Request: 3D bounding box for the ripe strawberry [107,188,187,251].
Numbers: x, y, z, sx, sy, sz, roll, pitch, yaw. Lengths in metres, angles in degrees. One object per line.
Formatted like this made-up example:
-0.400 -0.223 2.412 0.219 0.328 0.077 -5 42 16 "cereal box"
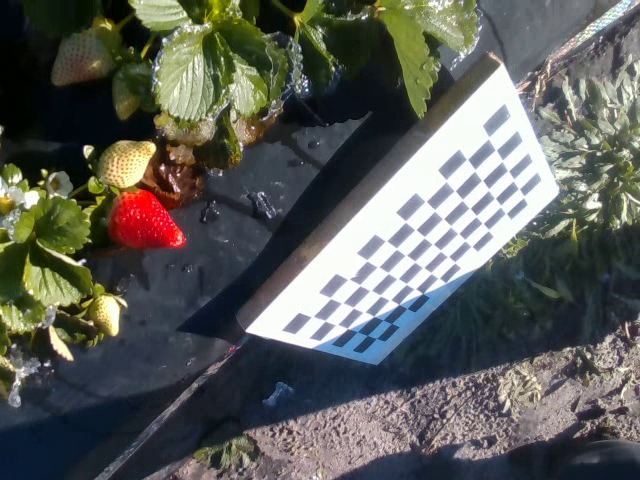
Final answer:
-0.101 -0.008 0.371 0.053 0.040 0.042 27 37 14 "ripe strawberry"
